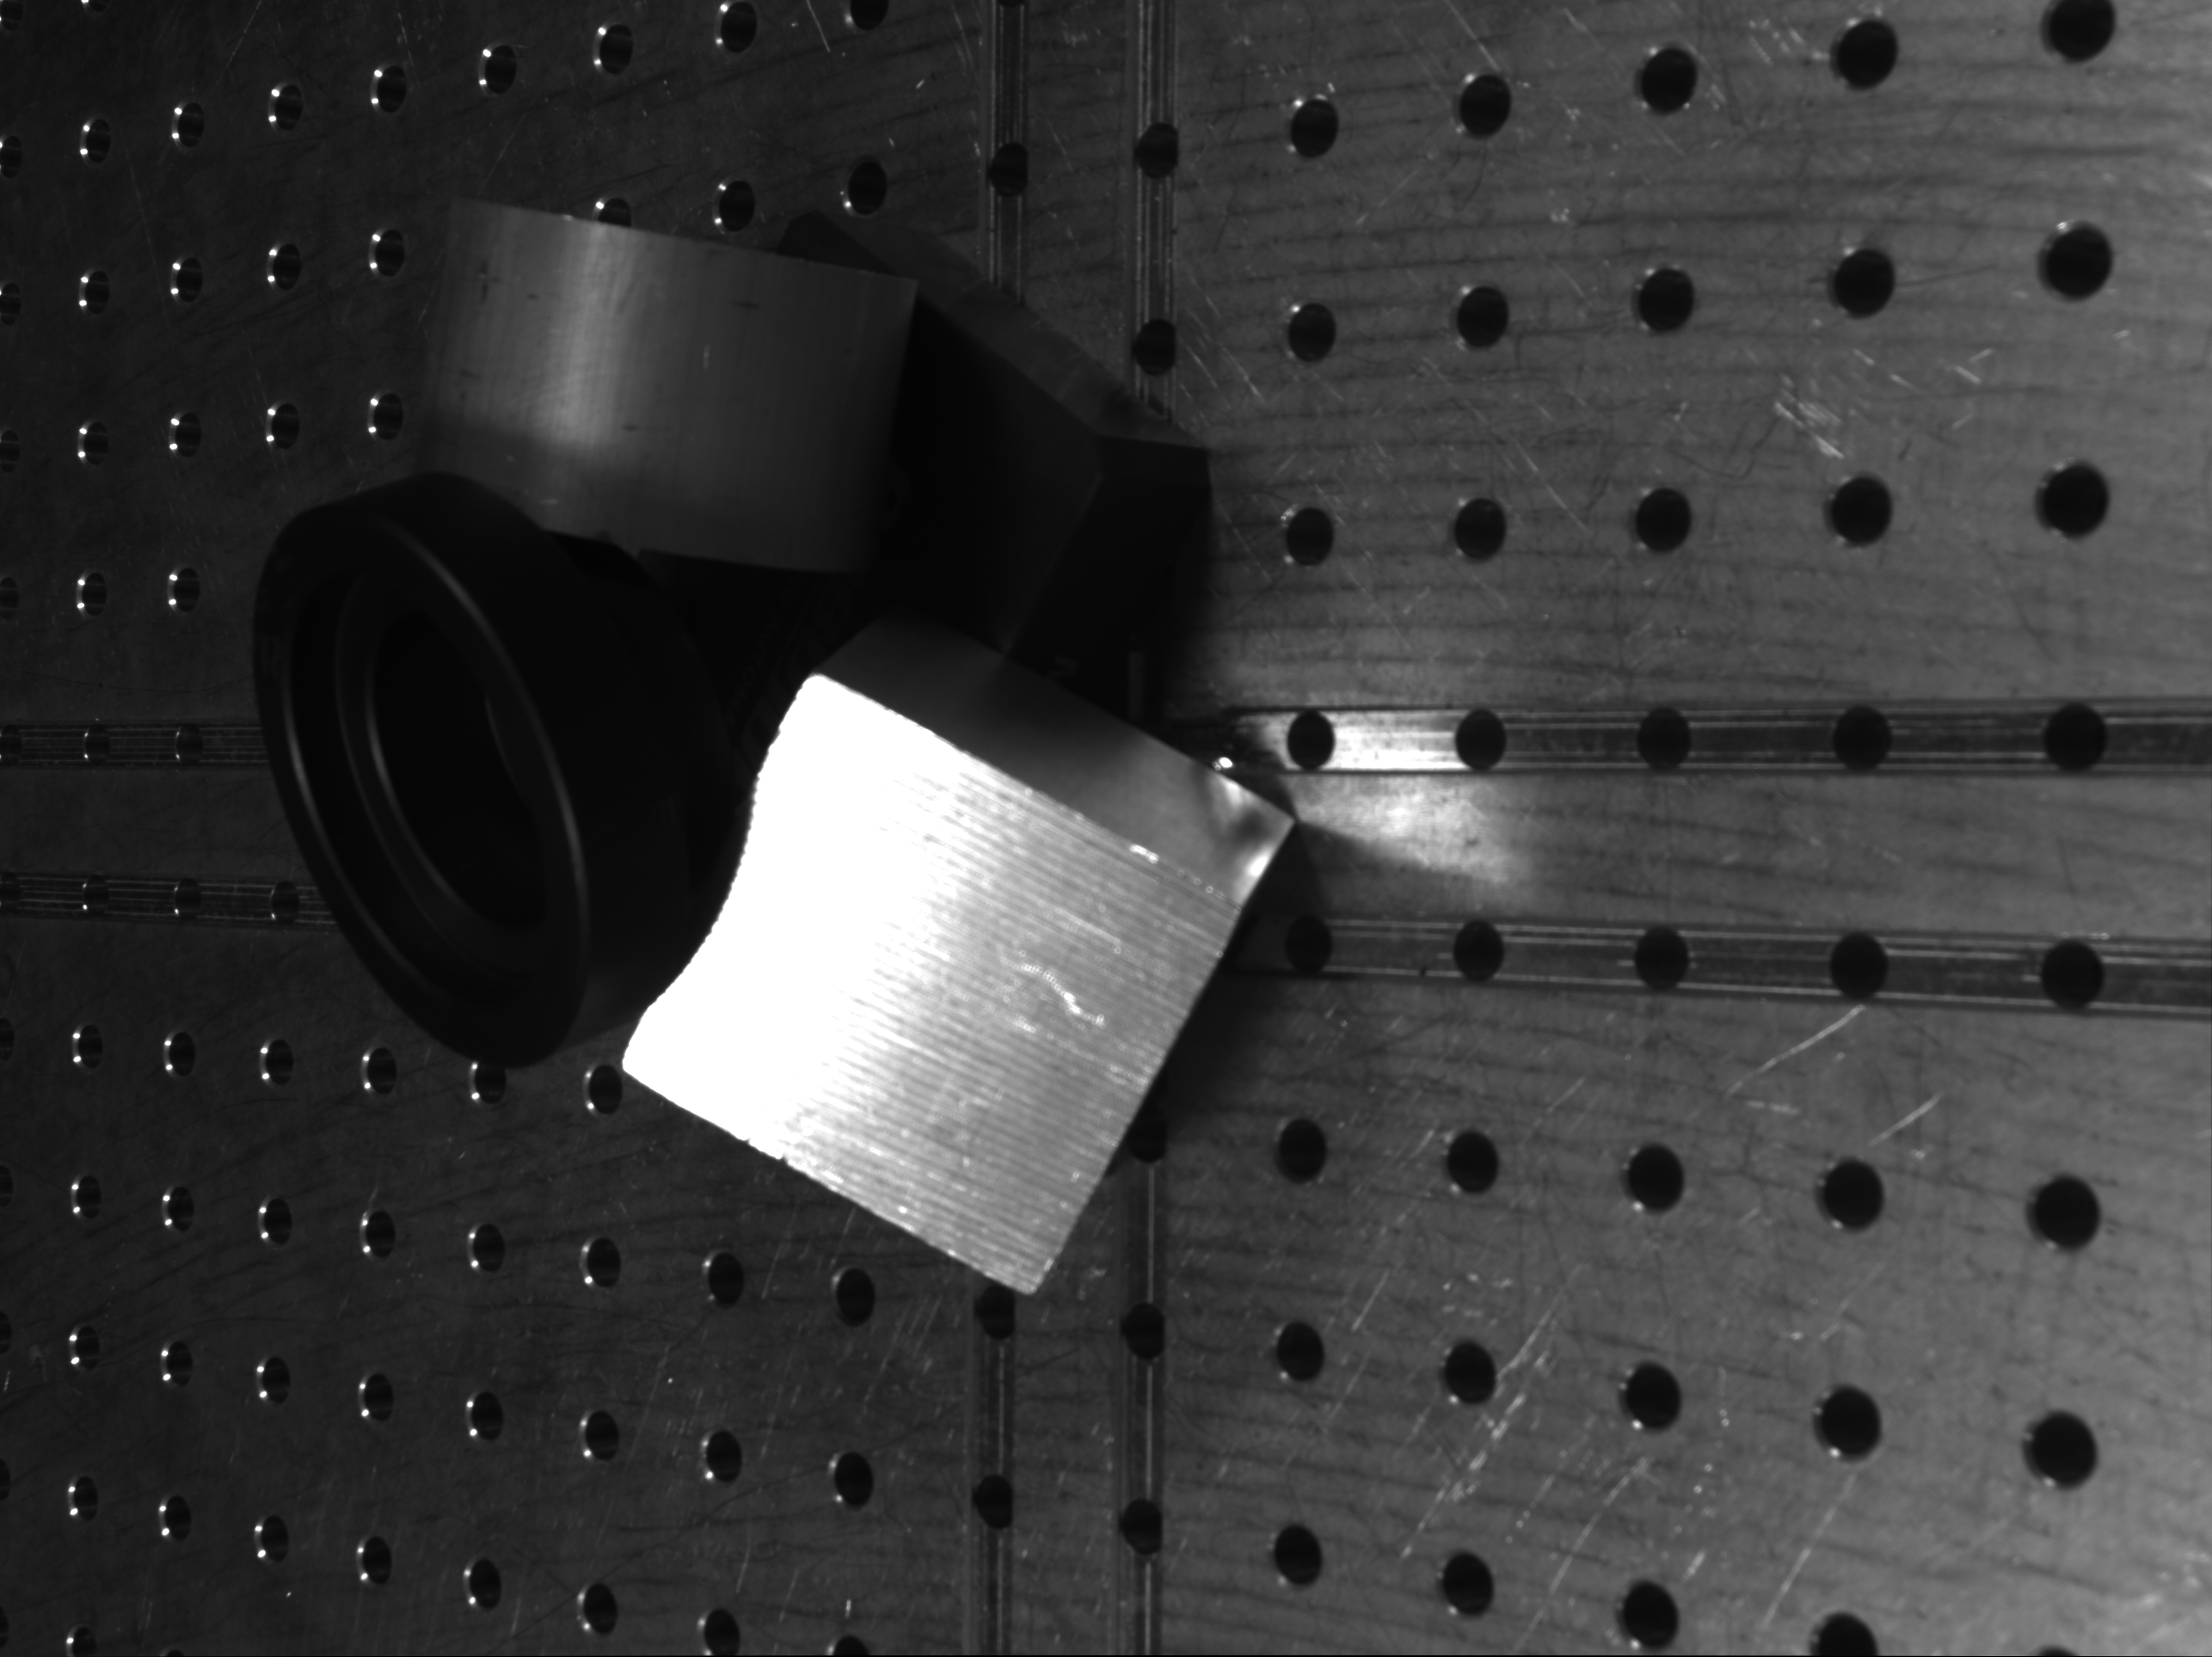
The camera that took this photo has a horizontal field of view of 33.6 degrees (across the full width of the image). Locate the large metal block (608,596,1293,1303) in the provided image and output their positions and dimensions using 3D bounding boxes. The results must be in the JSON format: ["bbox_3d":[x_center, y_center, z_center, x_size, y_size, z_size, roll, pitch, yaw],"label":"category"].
[{"bbox_3d":[-0.026,0.019,0.621,0.080,0.050,0.080,29,111,3],"label":"large metal block"}]

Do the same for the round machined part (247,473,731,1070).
[{"bbox_3d":[-0.100,-0.012,0.614,0.098,0.042,0.098,28,130,40],"label":"round machined part"}]

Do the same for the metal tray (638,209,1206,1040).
[{"bbox_3d":[-0.046,-0.036,0.675,0.090,0.030,0.130,41,115,32],"label":"metal tray"}]

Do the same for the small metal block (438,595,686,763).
[{"bbox_3d":[-0.109,-0.022,0.672,0.025,0.050,0.050,24,105,37],"label":"small metal block"}]

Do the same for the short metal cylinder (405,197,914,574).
[{"bbox_3d":[-0.077,-0.076,0.628,0.080,0.080,0.050,17,101,38],"label":"short metal cylinder"}]
